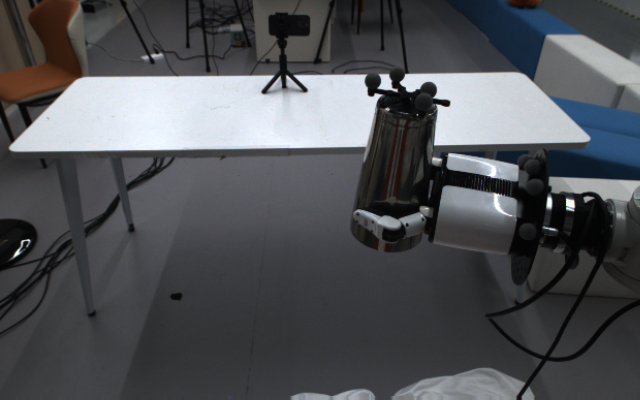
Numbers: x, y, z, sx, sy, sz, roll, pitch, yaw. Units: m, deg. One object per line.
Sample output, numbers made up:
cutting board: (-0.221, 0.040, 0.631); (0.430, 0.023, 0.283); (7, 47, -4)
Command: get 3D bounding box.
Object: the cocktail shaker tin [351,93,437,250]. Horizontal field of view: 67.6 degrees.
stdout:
cocktail shaker tin: (0.090, -0.034, 0.569); (0.093, 0.170, 0.093); (3, 34, -2)
